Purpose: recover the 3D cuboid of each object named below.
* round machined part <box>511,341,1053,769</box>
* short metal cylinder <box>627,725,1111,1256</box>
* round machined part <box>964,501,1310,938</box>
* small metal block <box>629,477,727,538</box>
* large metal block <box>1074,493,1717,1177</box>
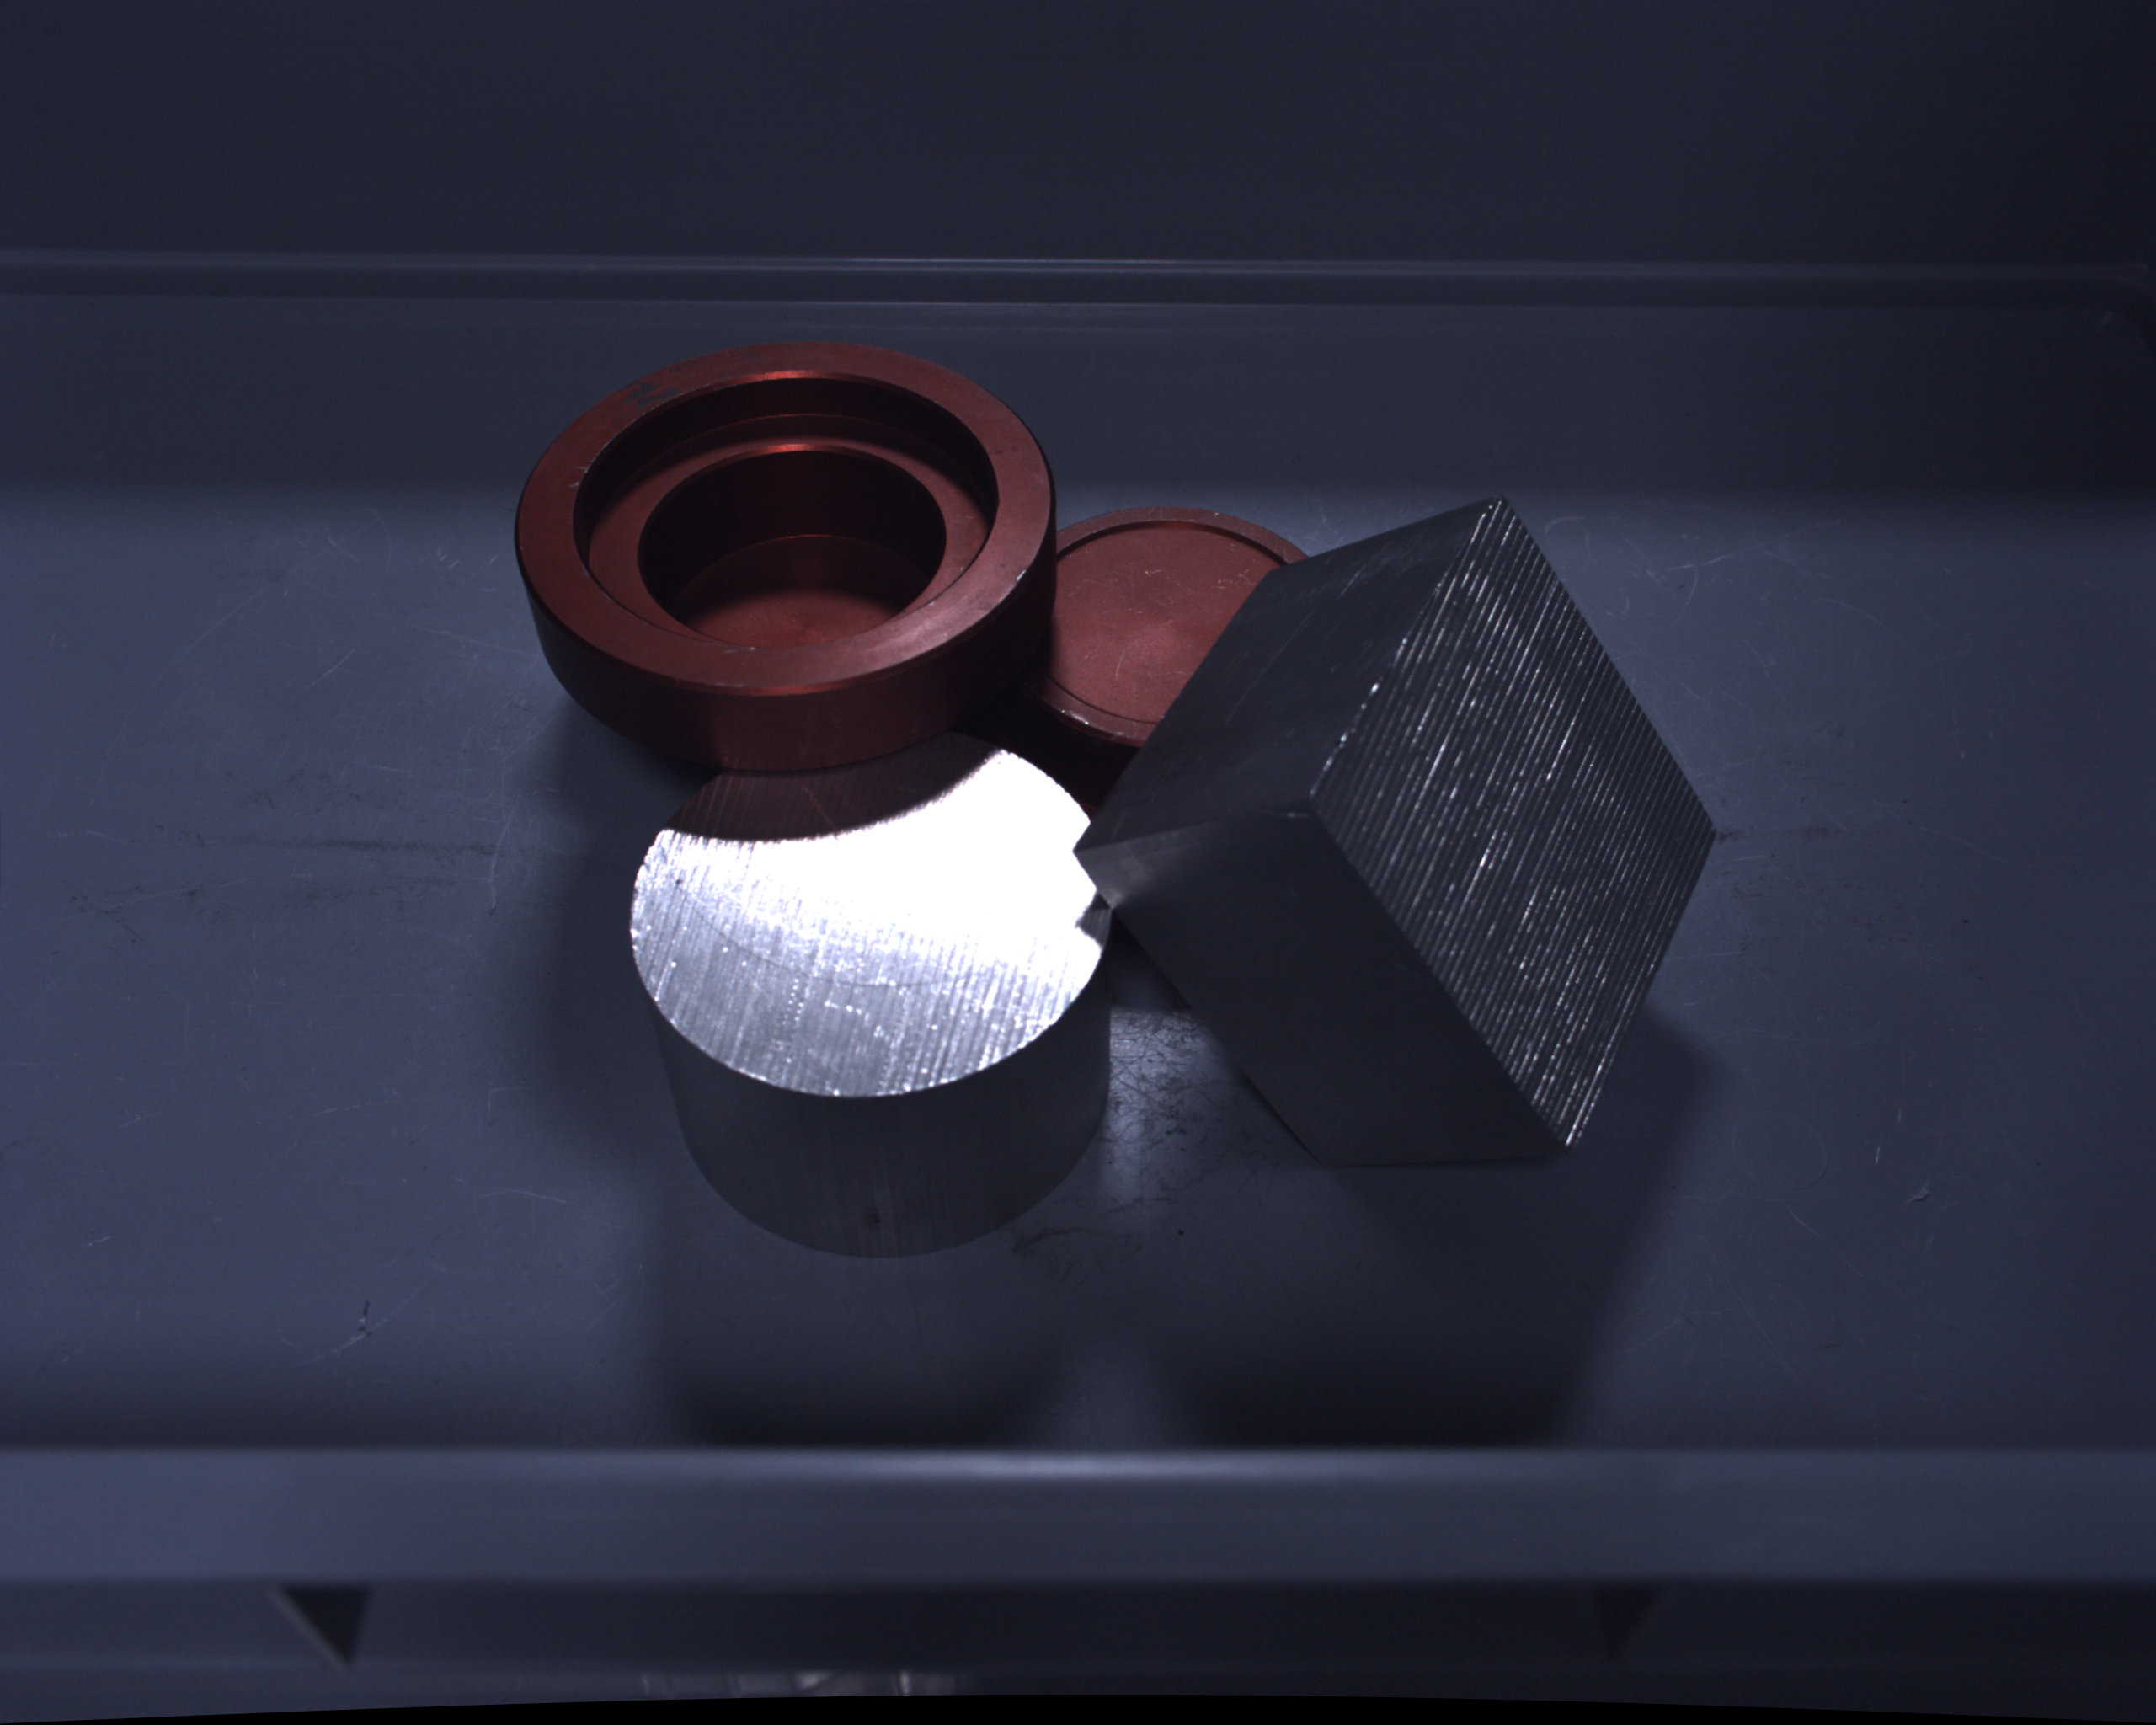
[{"bbox_3d":[-0.054,-0.053,0.398,0.099,0.042,0.098,0,50,0],"label":"round machined part"},{"bbox_3d":[-0.035,0.022,0.368,0.081,0.050,0.080,0,50,0],"label":"short metal cylinder"},{"bbox_3d":[0.018,-0.035,0.419,0.099,0.042,0.098,0,50,0],"label":"round machined part"},{"bbox_3d":[-0.082,-0.067,0.441,0.025,0.050,0.050,37,59,26],"label":"small metal block"},{"bbox_3d":[0.058,-0.003,0.362,0.050,0.080,0.080,-13,33,46],"label":"large metal block"}]
